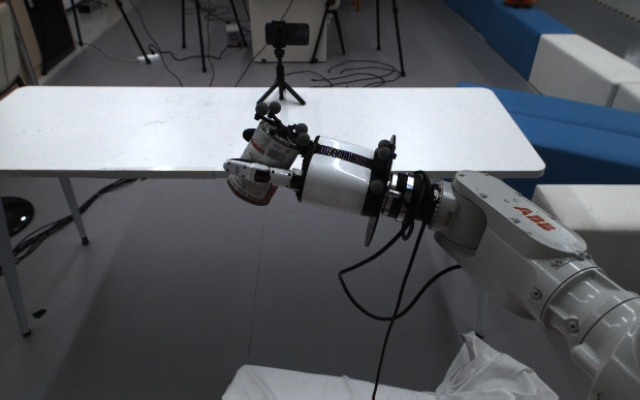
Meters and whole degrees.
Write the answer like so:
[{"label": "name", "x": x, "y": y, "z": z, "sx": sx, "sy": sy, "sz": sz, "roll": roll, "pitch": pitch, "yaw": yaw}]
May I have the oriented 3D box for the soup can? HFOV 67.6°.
[{"label": "soup can", "x": -0.076, "y": -0.051, "z": 0.671, "sx": 0.067, "sy": 0.101, "sz": 0.067, "roll": 28, "pitch": 22, "yaw": -12}]
